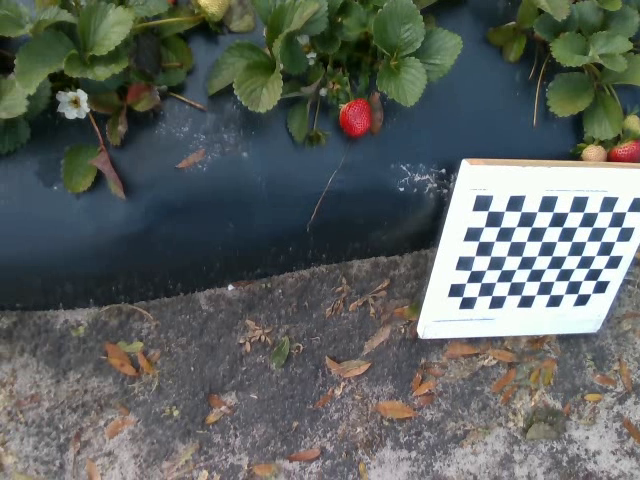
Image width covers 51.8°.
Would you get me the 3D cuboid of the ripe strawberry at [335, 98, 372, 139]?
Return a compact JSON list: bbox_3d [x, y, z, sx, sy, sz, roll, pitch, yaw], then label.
[{"bbox_3d":[0.047,-0.157,0.861,0.050,0.053,0.049,-8,-36,-11],"label":"ripe strawberry"}]
